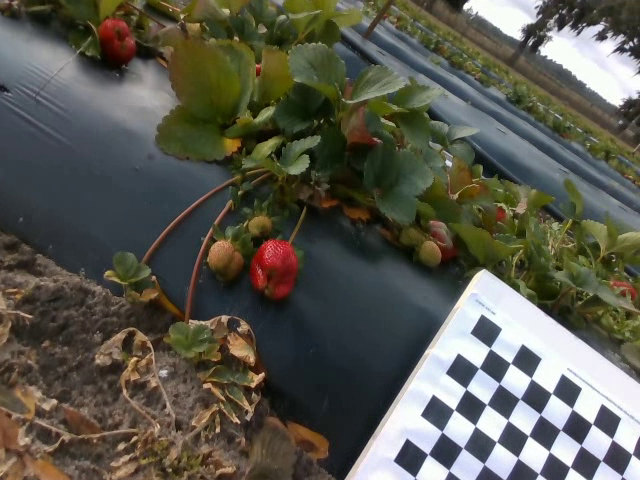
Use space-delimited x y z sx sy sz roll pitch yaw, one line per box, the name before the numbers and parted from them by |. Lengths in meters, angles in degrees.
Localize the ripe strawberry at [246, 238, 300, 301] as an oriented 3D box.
ripe strawberry | -0.044 0.024 0.585 0.066 0.075 0.053 20 -21 -5
